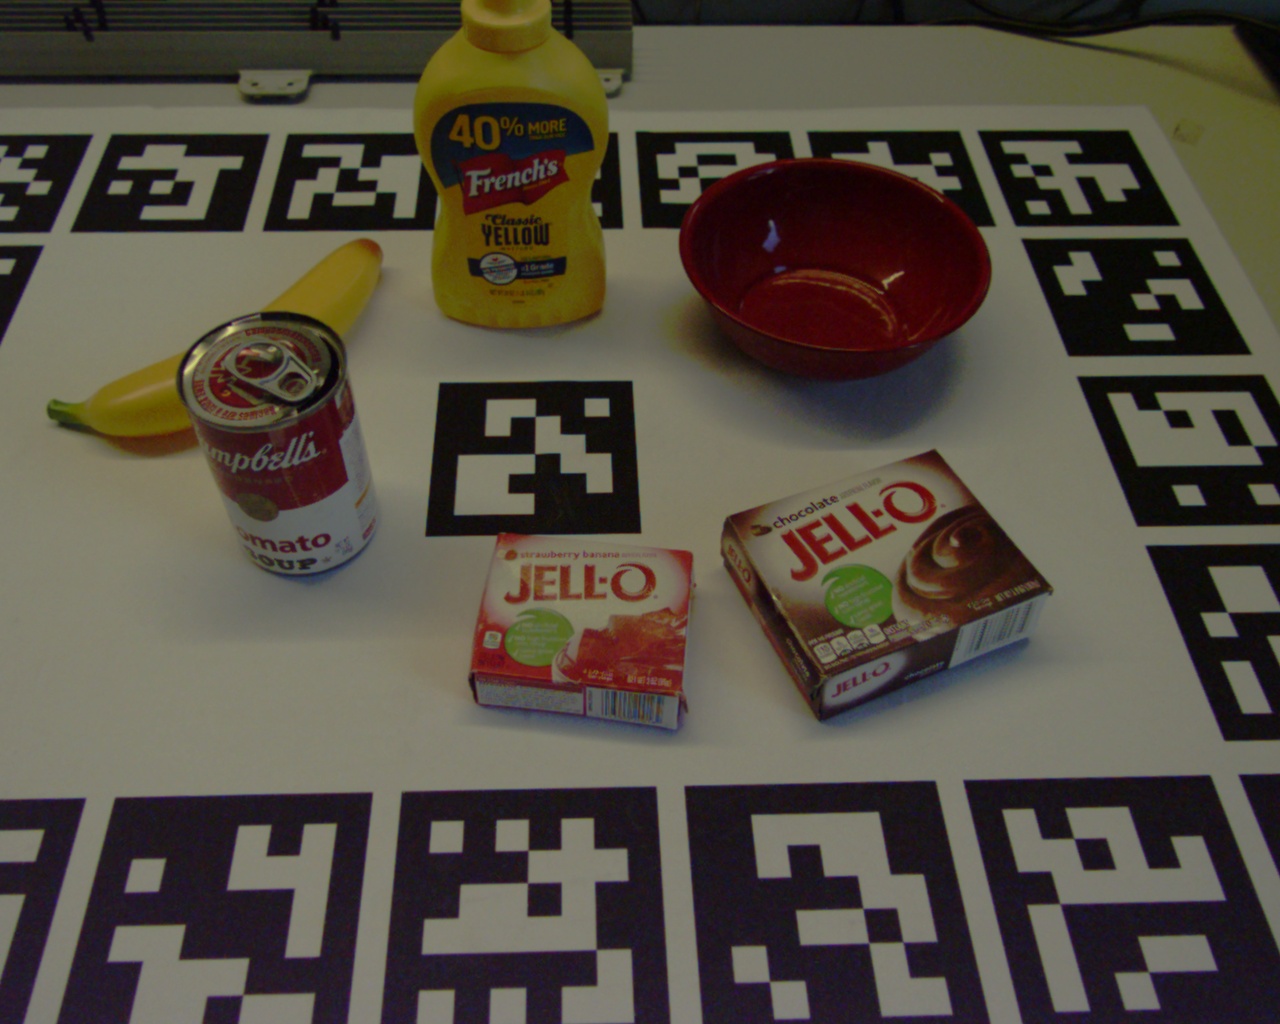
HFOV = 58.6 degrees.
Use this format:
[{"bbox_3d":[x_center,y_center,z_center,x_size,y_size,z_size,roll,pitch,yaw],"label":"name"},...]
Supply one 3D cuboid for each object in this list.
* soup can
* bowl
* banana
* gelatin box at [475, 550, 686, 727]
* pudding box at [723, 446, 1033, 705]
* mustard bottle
[{"bbox_3d":[-0.160,-0.032,0.528,0.068,0.102,0.068,2,49,-3],"label":"soup can"},{"bbox_3d":[0.104,-0.123,0.654,0.161,0.055,0.162,0,50,0],"label":"bowl"},{"bbox_3d":[-0.211,-0.093,0.628,0.075,0.038,0.196,27,54,31],"label":"banana"},{"bbox_3d":[-0.025,0.056,0.518,0.089,0.030,0.073,4,54,2],"label":"gelatin box"},{"bbox_3d":[0.109,0.028,0.538,0.113,0.038,0.091,-21,60,-18],"label":"pudding box"},{"bbox_3d":[-0.063,-0.184,0.594,0.096,0.191,0.059,-1,48,-4],"label":"mustard bottle"}]
